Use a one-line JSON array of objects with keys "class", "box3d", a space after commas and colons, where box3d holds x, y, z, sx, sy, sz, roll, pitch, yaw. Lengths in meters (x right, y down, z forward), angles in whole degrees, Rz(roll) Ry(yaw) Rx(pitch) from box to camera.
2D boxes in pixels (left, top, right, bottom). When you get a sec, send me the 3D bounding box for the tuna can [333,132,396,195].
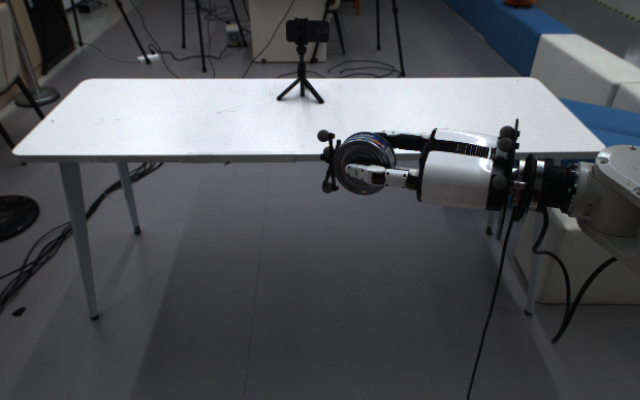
[{"class": "tuna can", "box3d": [0.065, -0.049, 0.684, 0.085, 0.085, 0.034, 12, 28, 14]}]
